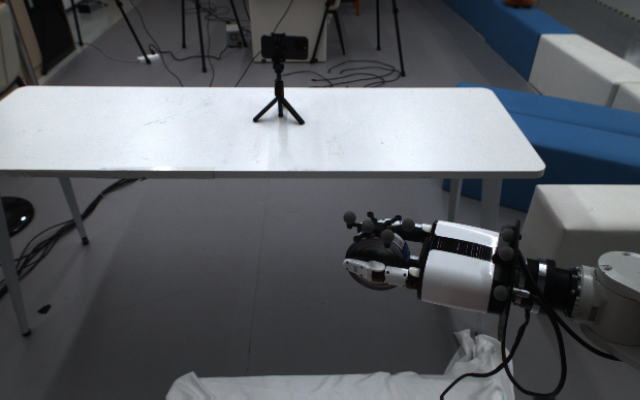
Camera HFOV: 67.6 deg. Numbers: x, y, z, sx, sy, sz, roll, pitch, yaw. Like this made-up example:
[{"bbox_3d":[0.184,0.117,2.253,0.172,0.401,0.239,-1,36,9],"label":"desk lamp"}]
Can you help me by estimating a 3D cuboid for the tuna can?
[{"bbox_3d":[0.083,0.078,0.669,0.085,0.085,0.034,13,29,16],"label":"tuna can"}]
